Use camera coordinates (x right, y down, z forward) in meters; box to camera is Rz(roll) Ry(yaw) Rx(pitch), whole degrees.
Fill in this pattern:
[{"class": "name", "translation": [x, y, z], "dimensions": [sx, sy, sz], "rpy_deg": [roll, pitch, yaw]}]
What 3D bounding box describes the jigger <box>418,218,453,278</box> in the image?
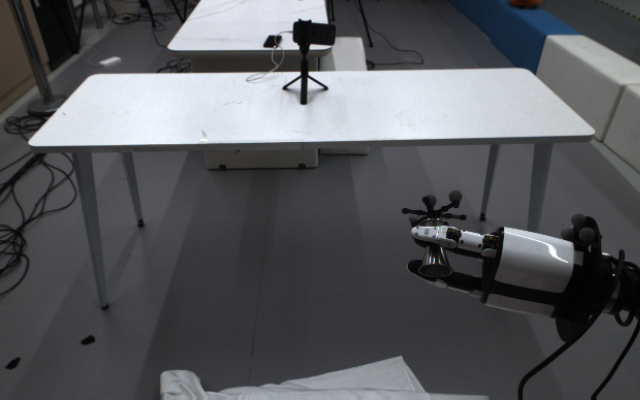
[{"class": "jigger", "translation": [0.151, 0.062, 0.648], "dimensions": [0.043, 0.043, 0.071], "rpy_deg": [5, 60, 4]}]
